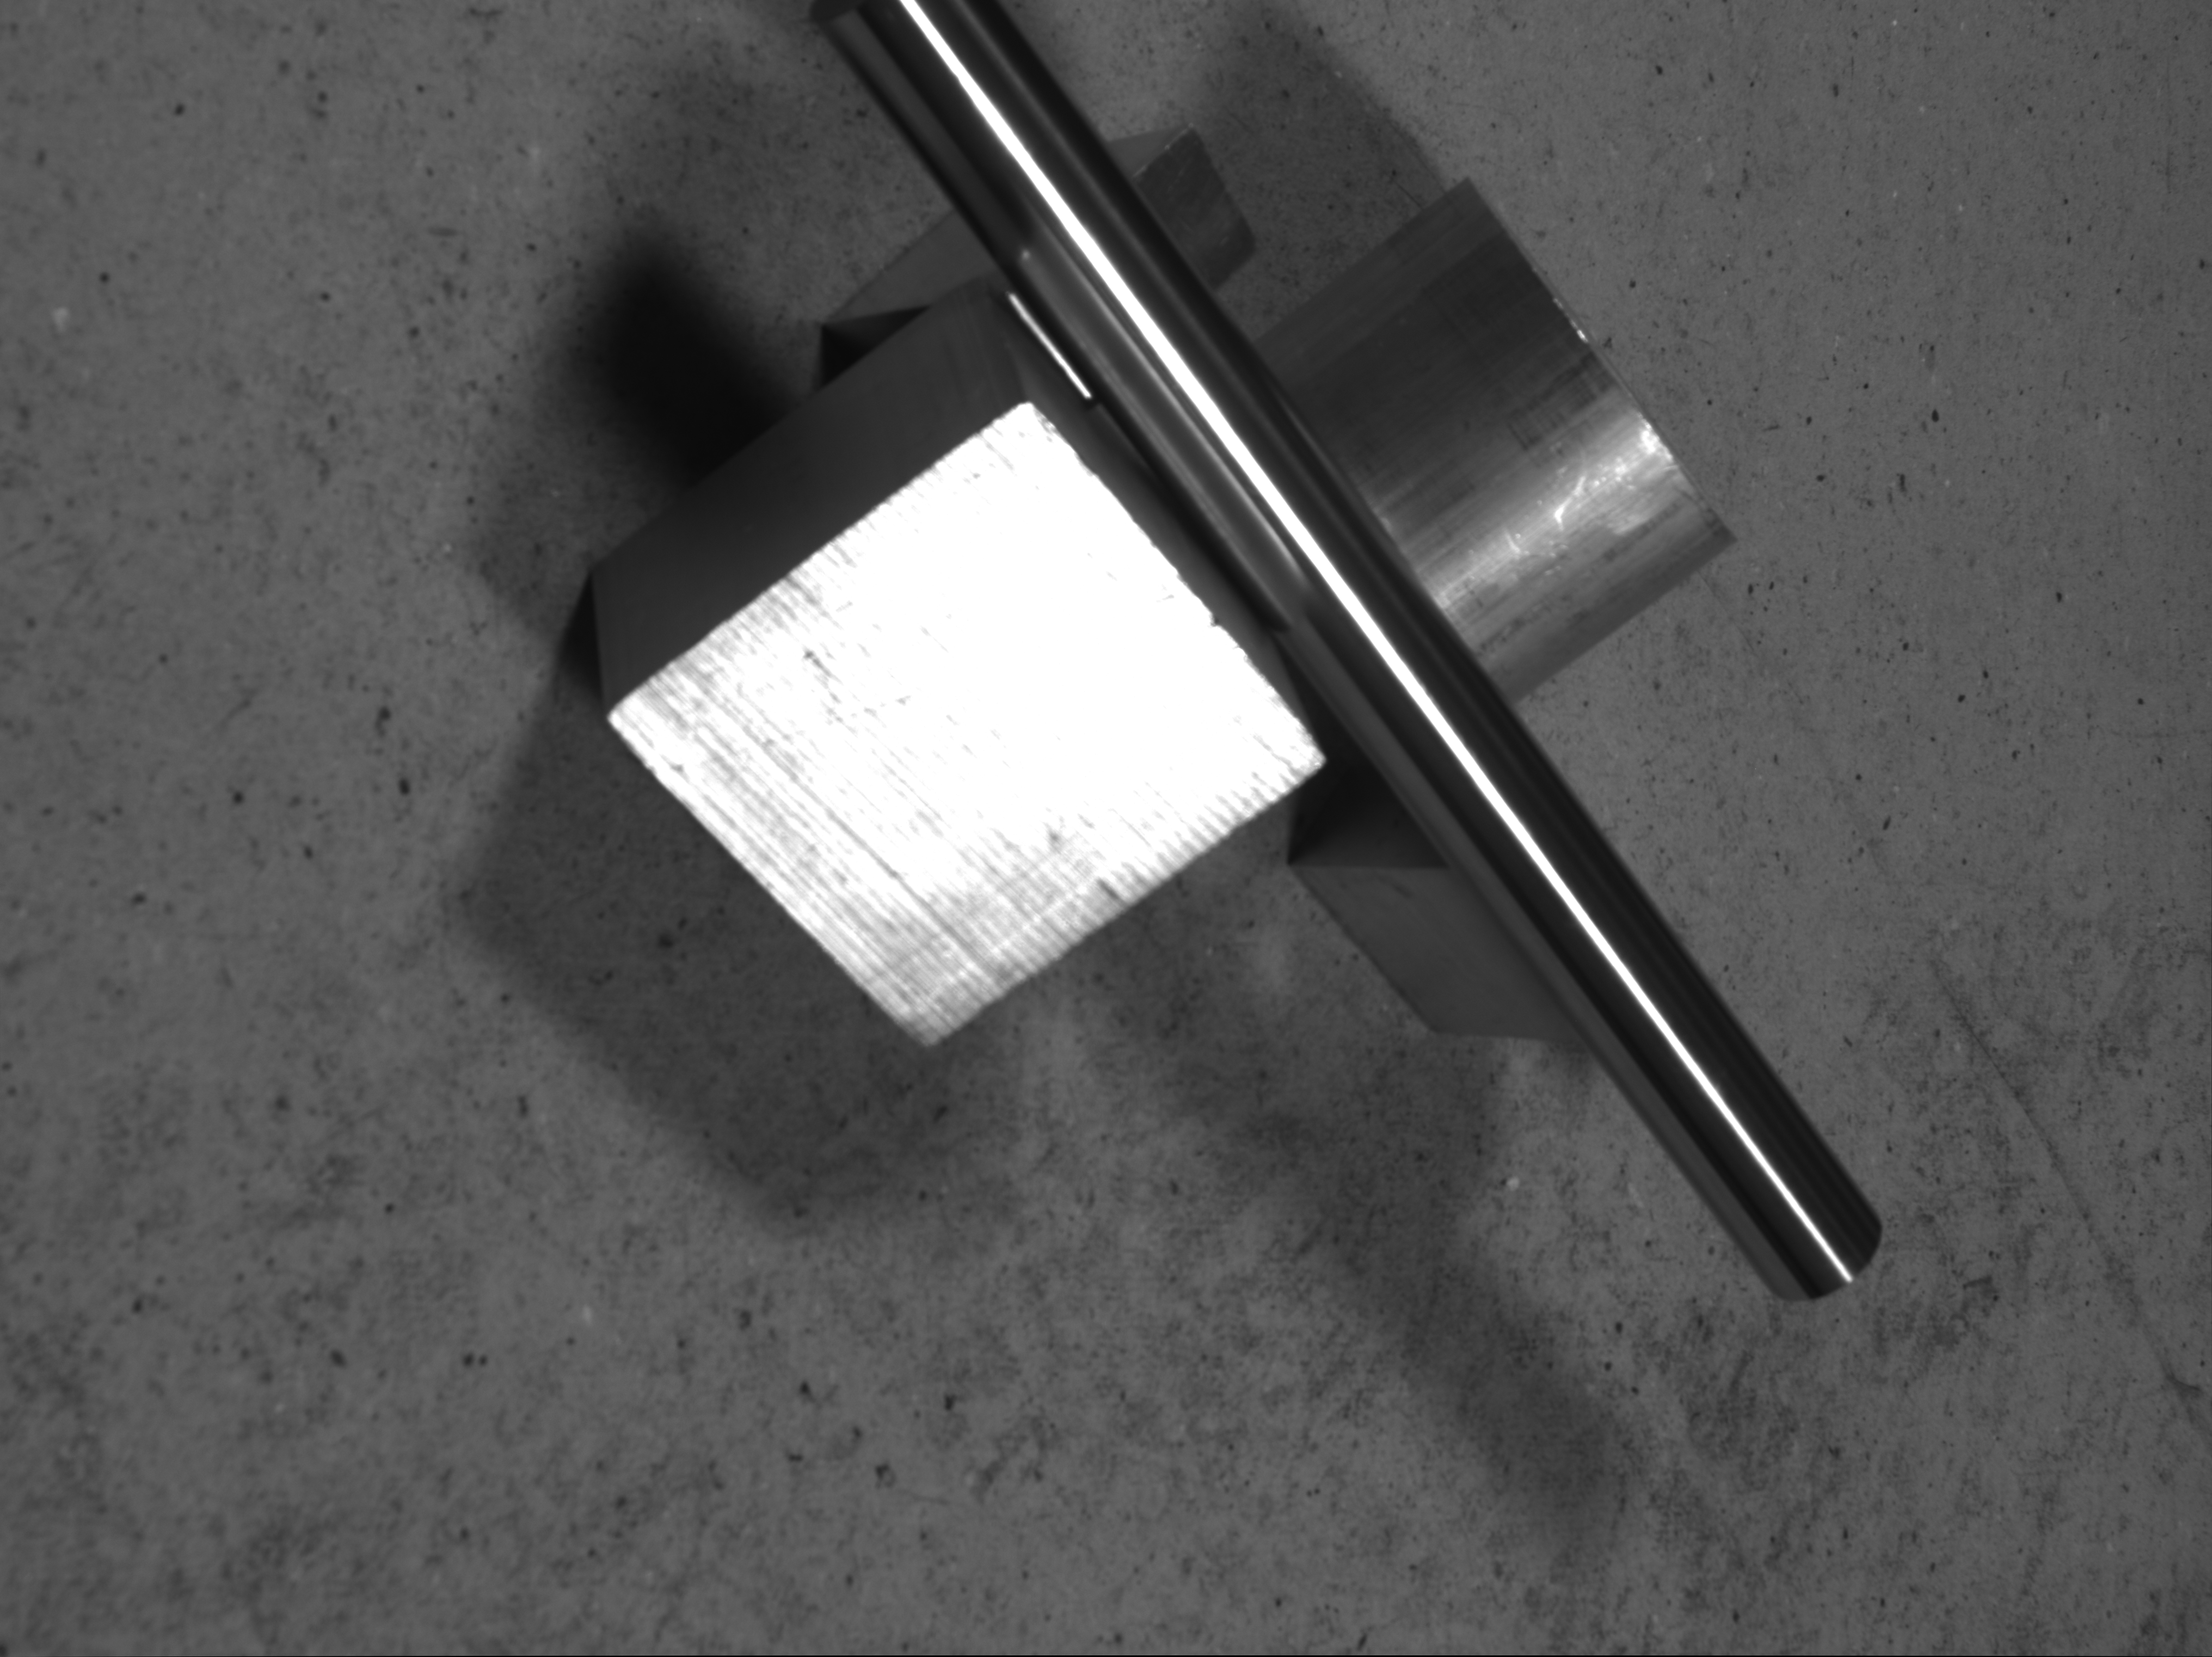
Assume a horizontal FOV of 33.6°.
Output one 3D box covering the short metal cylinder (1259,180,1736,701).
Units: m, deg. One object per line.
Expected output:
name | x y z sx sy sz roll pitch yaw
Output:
short metal cylinder | 0.068 -0.068 0.651 0.050 0.080 0.080 -37 120 12

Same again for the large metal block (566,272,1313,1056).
large metal block | -0.027 -0.025 0.576 0.080 0.050 0.080 -36 120 10

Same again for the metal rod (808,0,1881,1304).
metal rod | 0.050 -0.024 0.614 0.301 0.025 0.025 51 60 -28

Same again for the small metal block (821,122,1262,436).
small metal block | -0.011 -0.091 0.613 0.050 0.050 0.025 -46 117 -30

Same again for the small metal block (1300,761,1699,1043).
small metal block | 0.073 0.014 0.678 0.050 0.050 0.025 48 61 -29
